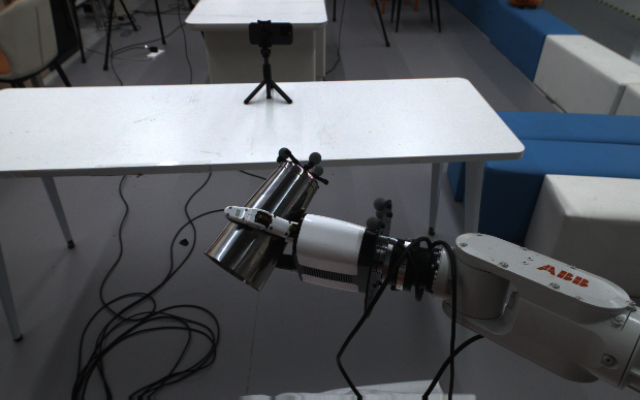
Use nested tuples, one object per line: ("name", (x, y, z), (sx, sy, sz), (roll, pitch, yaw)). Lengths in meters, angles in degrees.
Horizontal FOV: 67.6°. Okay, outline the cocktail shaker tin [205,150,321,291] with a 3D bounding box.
("cocktail shaker tin", (-0.076, 0.029, 0.679), (0.093, 0.093, 0.170), (24, 69, 28))
